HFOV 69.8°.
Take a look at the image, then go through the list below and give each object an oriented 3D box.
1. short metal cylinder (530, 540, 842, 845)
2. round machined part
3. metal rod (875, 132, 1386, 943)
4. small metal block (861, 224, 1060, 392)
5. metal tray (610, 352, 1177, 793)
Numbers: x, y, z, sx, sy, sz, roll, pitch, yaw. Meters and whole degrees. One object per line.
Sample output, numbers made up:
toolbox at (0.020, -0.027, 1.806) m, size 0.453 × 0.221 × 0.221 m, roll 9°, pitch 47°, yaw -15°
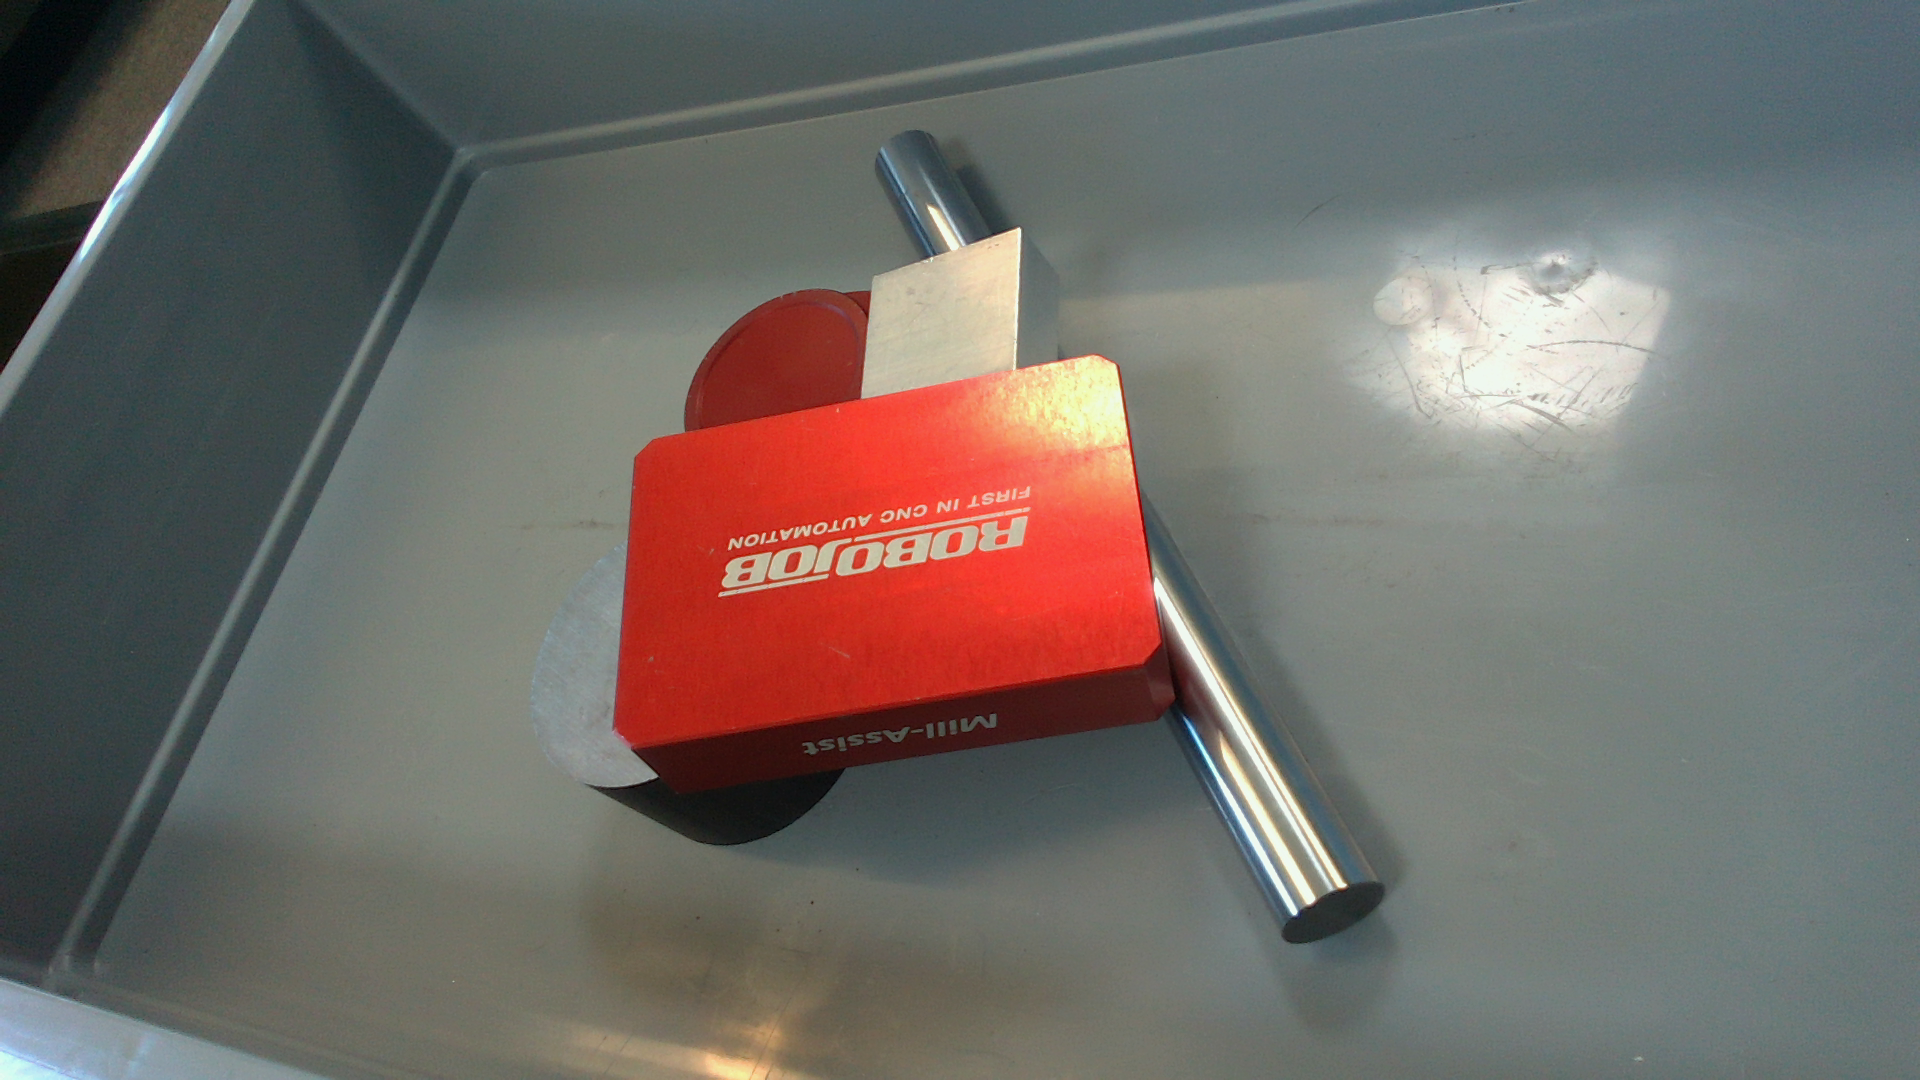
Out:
short metal cylinder at (-0.073, 0.040, 0.390) m, size 0.080 × 0.050 × 0.080 m, roll -13°, pitch 56°, yaw 21°
round machined part at (-0.047, -0.040, 0.430) m, size 0.098 × 0.042 × 0.098 m, roll -14°, pitch 55°, yaw 22°
metal rod at (0.031, -0.026, 0.391) m, size 0.025 × 0.025 × 0.300 m, roll -31°, pitch 51°, yaw 8°
small metal block at (0.001, -0.057, 0.396) m, size 0.050 × 0.025 × 0.050 m, roll -13°, pitch 59°, yaw 28°
metal tray at (-0.018, 0.007, 0.344) m, size 0.130 × 0.030 × 0.090 m, roll -10°, pitch 57°, yaw 8°
